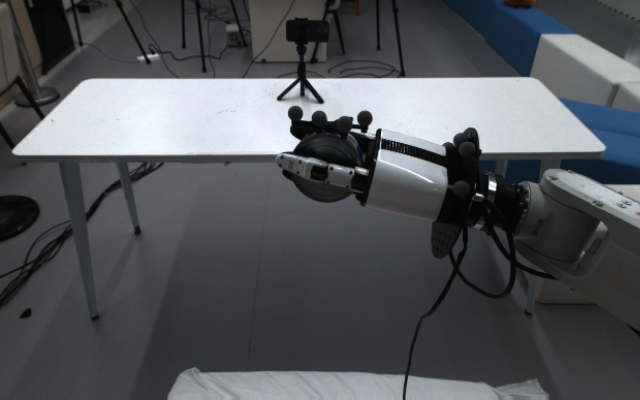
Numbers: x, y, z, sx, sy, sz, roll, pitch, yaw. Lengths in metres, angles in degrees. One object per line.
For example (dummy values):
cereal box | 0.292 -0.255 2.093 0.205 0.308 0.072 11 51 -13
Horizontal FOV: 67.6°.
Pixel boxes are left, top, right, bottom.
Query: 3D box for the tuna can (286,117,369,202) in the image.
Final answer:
tuna can | 0.011 -0.042 0.577 0.085 0.085 0.034 6 22 6
